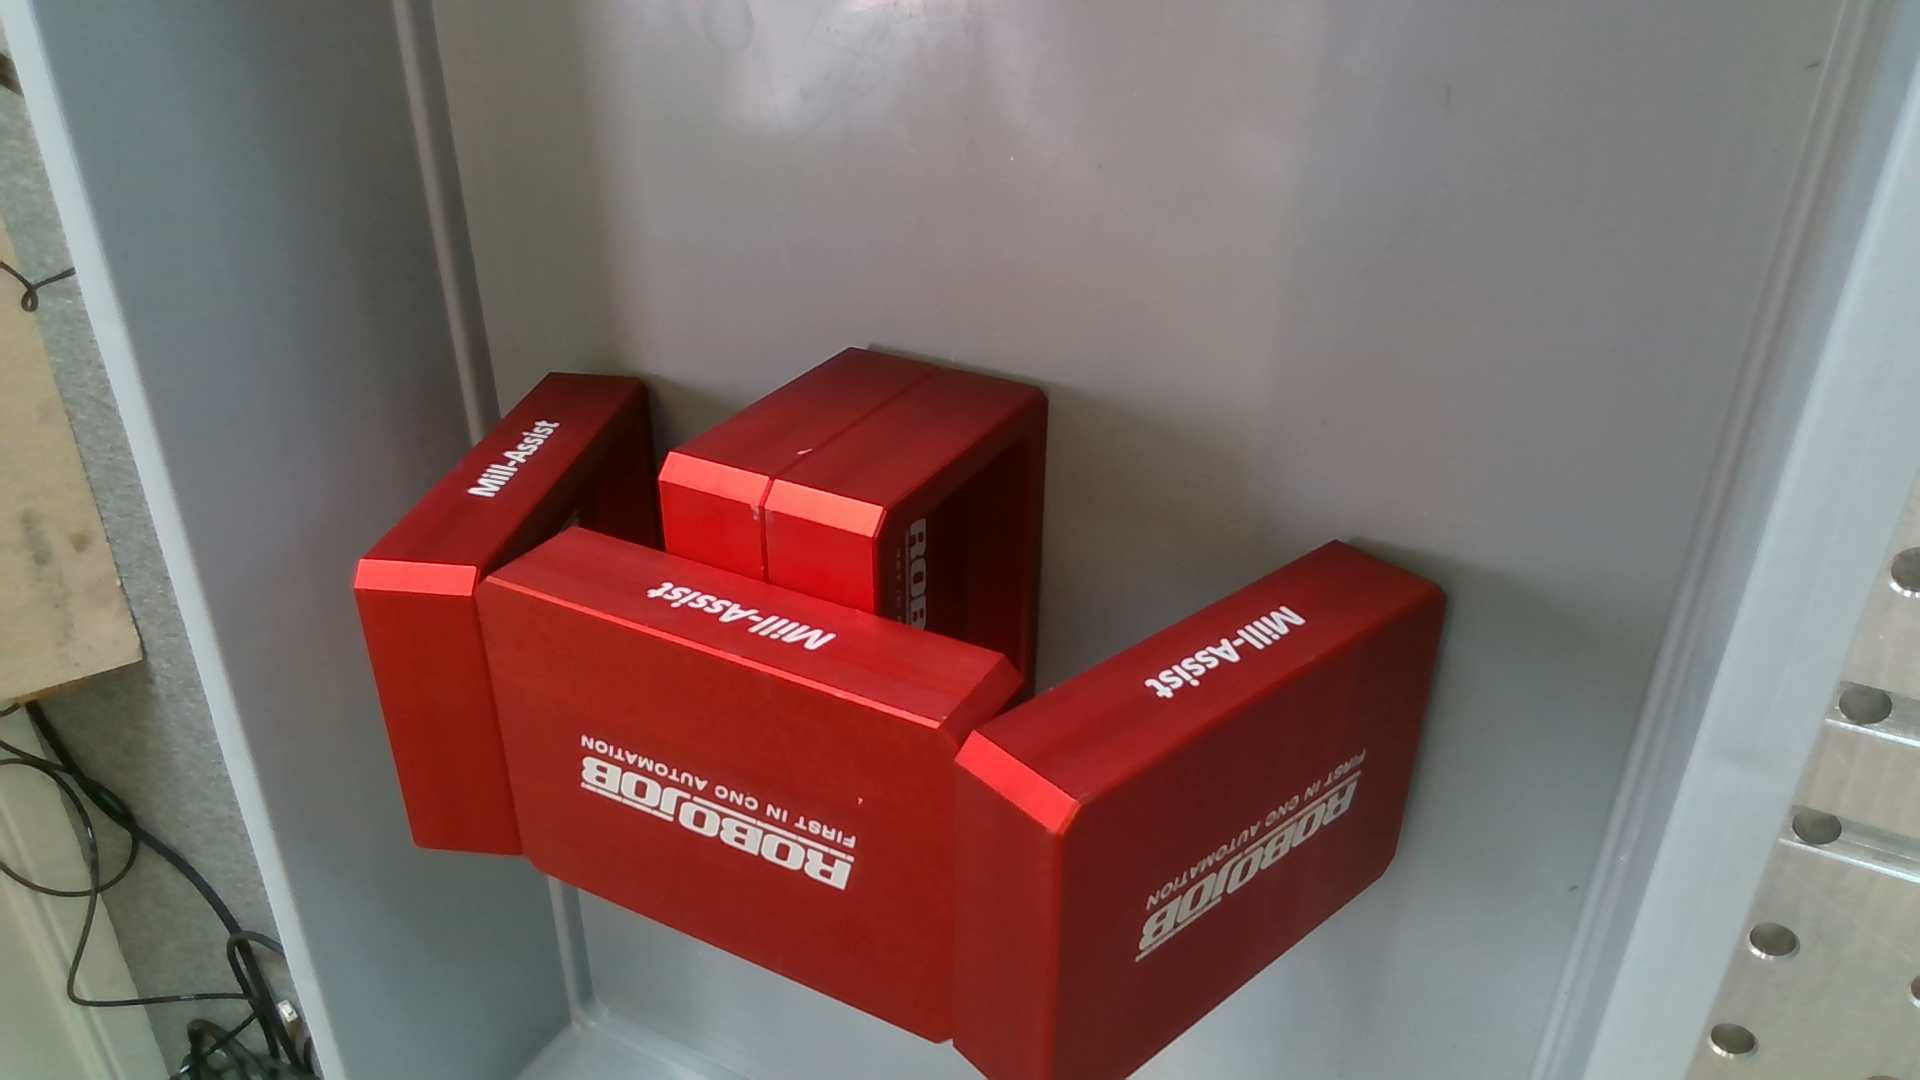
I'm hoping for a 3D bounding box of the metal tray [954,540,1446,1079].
[{"bbox_3d":[0.057,0.063,0.319,0.030,0.130,0.090,29,130,41],"label":"metal tray"}]

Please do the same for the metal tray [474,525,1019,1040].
[{"bbox_3d":[-0.051,0.056,0.330,0.130,0.030,0.090,15,123,24],"label":"metal tray"}]

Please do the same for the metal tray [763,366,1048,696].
[{"bbox_3d":[-0.011,0.030,0.369,0.030,0.090,0.130,15,122,24],"label":"metal tray"}]

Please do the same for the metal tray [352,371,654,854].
[{"bbox_3d":[-0.123,0.016,0.402,0.030,0.130,0.090,3,119,6],"label":"metal tray"}]

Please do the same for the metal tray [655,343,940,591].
[{"bbox_3d":[-0.038,0.022,0.382,0.030,0.090,0.130,15,122,24],"label":"metal tray"}]
